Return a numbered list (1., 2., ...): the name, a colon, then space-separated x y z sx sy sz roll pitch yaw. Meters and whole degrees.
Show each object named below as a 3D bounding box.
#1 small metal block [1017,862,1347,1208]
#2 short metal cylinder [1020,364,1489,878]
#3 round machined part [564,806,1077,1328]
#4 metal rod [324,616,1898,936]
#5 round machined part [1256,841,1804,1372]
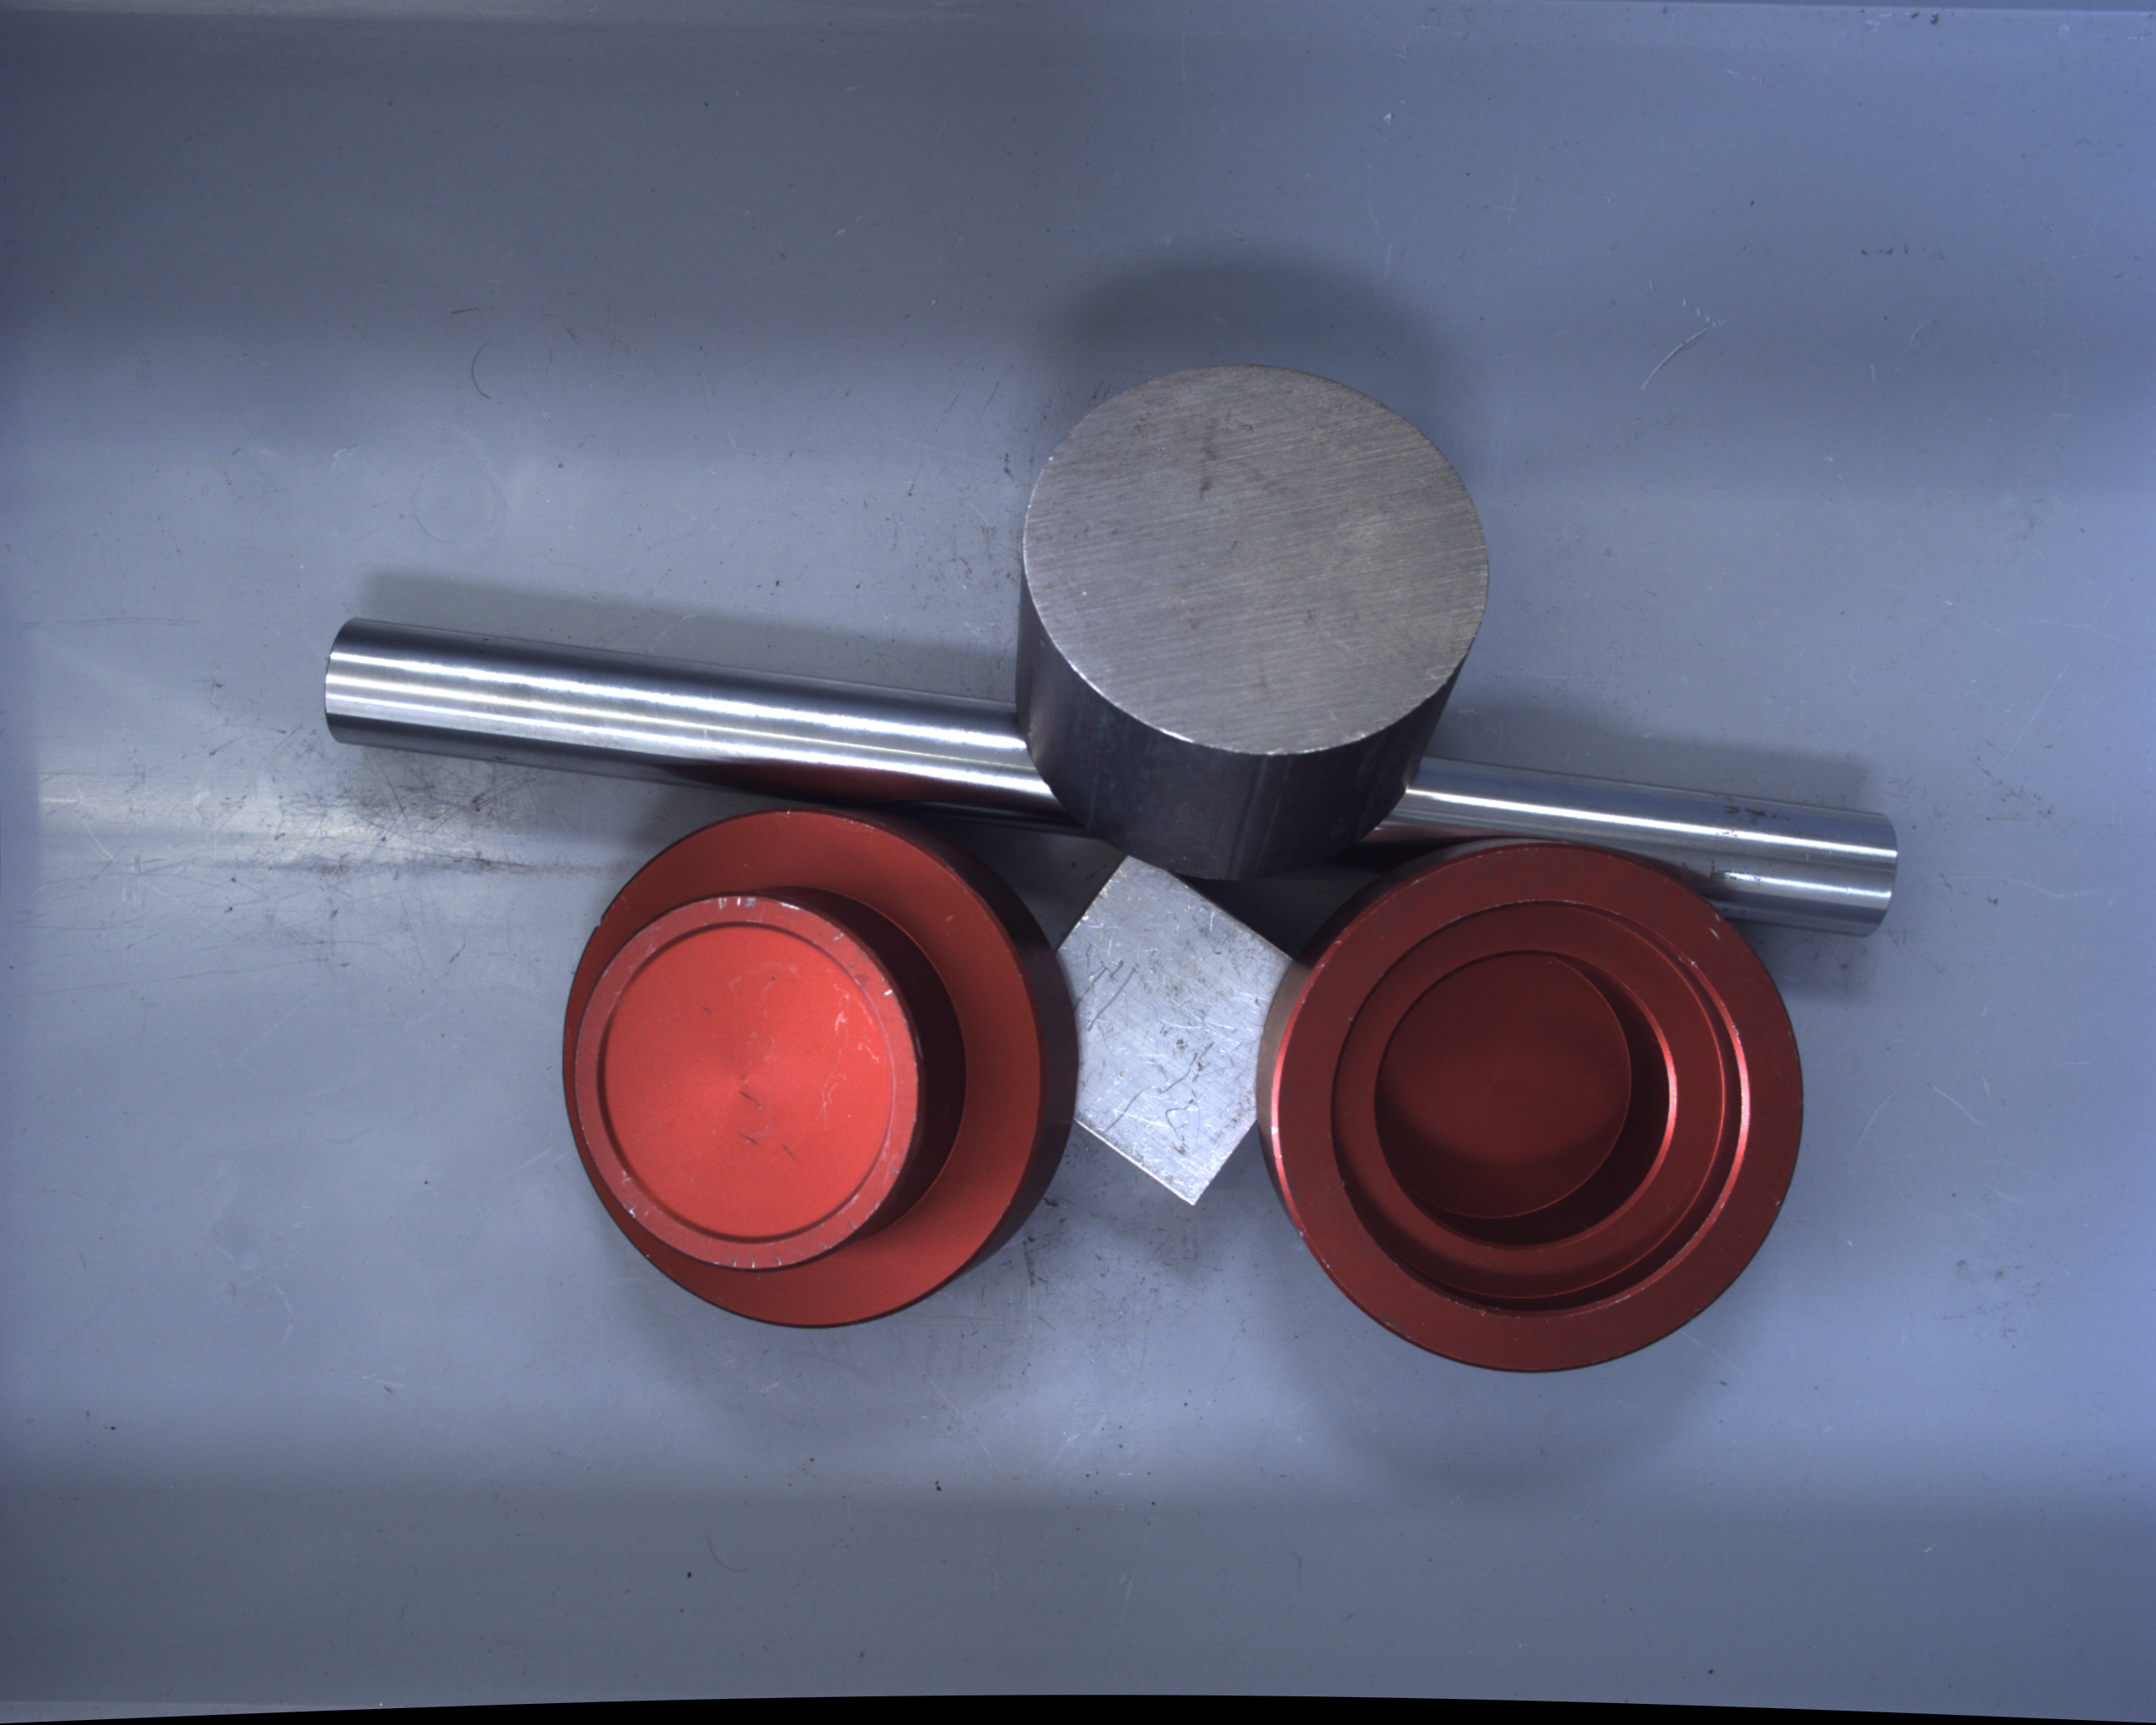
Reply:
1. small metal block: 0.017 0.031 0.410 0.050 0.025 0.050 36 90 0
2. short metal cylinder: 0.030 -0.044 0.383 0.081 0.050 0.080 2 65 -3
3. round machined part: -0.053 0.038 0.388 0.098 0.042 0.097 0 91 18
4. metal rod: 0.007 -0.017 0.410 0.302 0.025 0.025 7 90 0
5. round machined part: 0.083 0.044 0.400 0.099 0.042 0.097 0 92 -3
